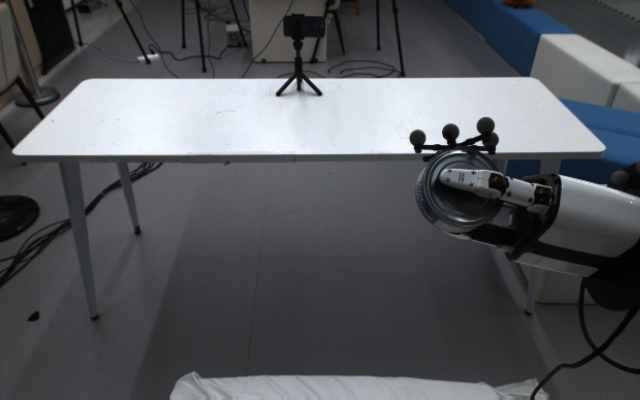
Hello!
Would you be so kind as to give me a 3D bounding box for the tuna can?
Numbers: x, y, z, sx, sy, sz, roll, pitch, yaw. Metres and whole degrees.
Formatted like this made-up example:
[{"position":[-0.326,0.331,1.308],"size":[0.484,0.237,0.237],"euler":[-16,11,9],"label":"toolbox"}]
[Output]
[{"position":[0.148,-0.013,0.507],"size":[0.085,0.034,0.085],"euler":[1,73,-4],"label":"tuna can"}]
